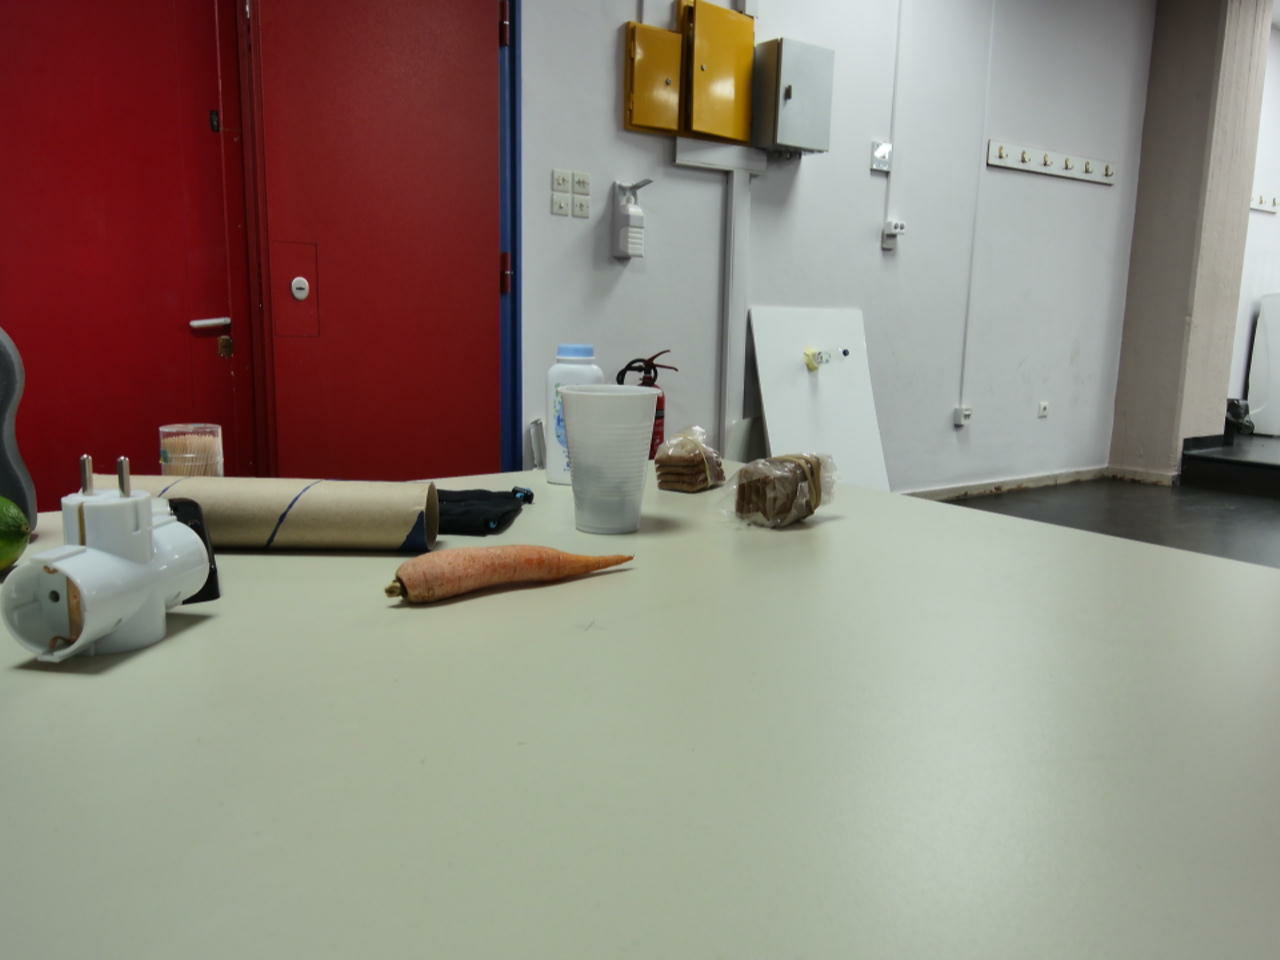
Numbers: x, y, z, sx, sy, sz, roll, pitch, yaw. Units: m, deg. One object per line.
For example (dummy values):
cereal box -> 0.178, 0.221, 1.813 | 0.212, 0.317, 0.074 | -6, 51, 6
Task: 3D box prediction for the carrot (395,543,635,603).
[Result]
carrot -> -0.073, 0.051, 0.610 | 0.163, 0.029, 0.031 | -5, 10, -35
